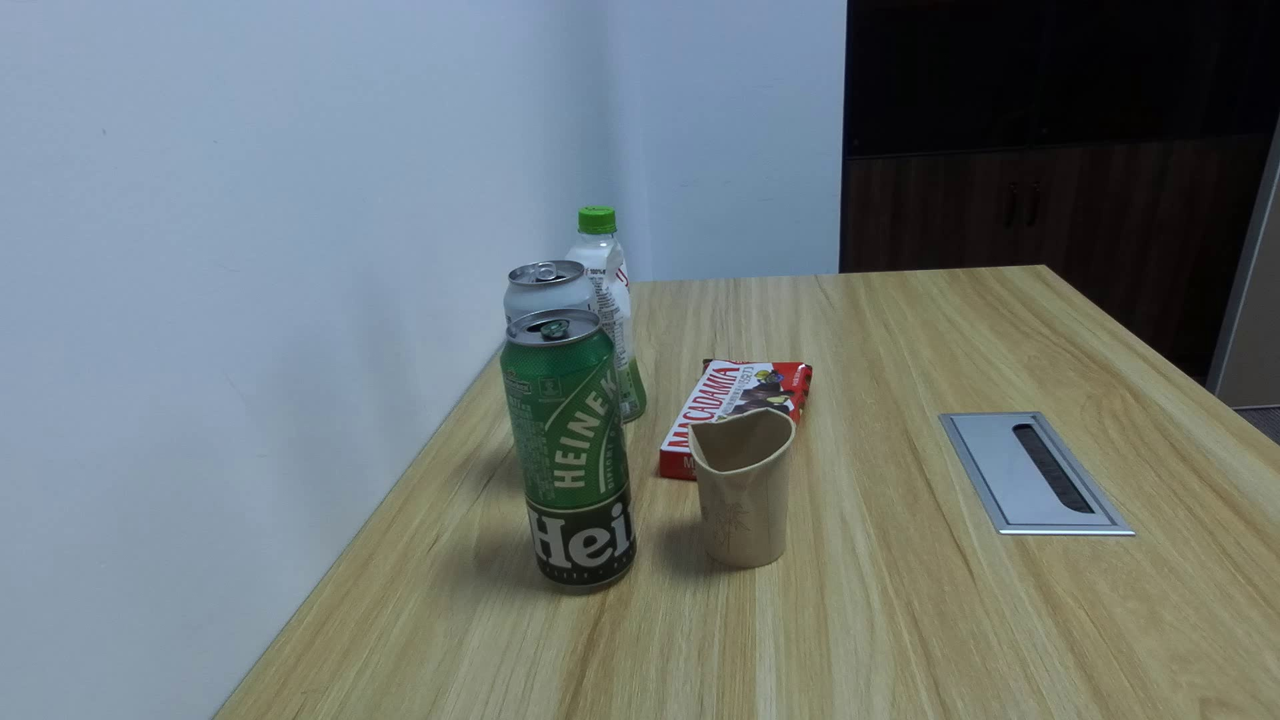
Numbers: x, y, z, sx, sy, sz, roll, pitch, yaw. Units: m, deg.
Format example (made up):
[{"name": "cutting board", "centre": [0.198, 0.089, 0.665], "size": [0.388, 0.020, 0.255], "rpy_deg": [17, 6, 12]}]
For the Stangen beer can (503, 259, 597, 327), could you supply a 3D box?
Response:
[{"name": "Stangen beer can", "centre": [-0.060, 0.009, 0.540], "size": [0.067, 0.171, 0.067], "rpy_deg": [-2, 31, 2]}]

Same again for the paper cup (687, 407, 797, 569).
[{"name": "paper cup", "centre": [0.069, 0.084, 0.450], "size": [0.072, 0.084, 0.066], "rpy_deg": [-11, 25, -12]}]

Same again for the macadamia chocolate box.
[{"name": "macadamia chocolate box", "centre": [0.088, 0.045, 0.610], "size": [0.105, 0.028, 0.183], "rpy_deg": [3, 25, 18]}]

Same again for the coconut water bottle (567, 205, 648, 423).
[{"name": "coconut water bottle", "centre": [-0.031, -0.040, 0.618], "size": [0.069, 0.187, 0.069], "rpy_deg": [-3, 21, 2]}]

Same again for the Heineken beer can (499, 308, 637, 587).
[{"name": "Heineken beer can", "centre": [-0.041, 0.057, 0.433], "size": [0.067, 0.169, 0.067], "rpy_deg": [-4, 24, 2]}]
